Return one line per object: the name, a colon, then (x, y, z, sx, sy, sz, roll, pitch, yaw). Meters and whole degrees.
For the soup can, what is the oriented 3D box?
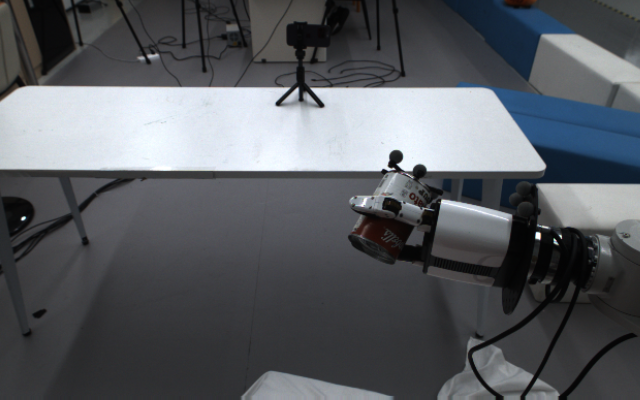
soup can: (0.090, 0.021, 0.614, 0.067, 0.067, 0.101, 24, 73, 29)
